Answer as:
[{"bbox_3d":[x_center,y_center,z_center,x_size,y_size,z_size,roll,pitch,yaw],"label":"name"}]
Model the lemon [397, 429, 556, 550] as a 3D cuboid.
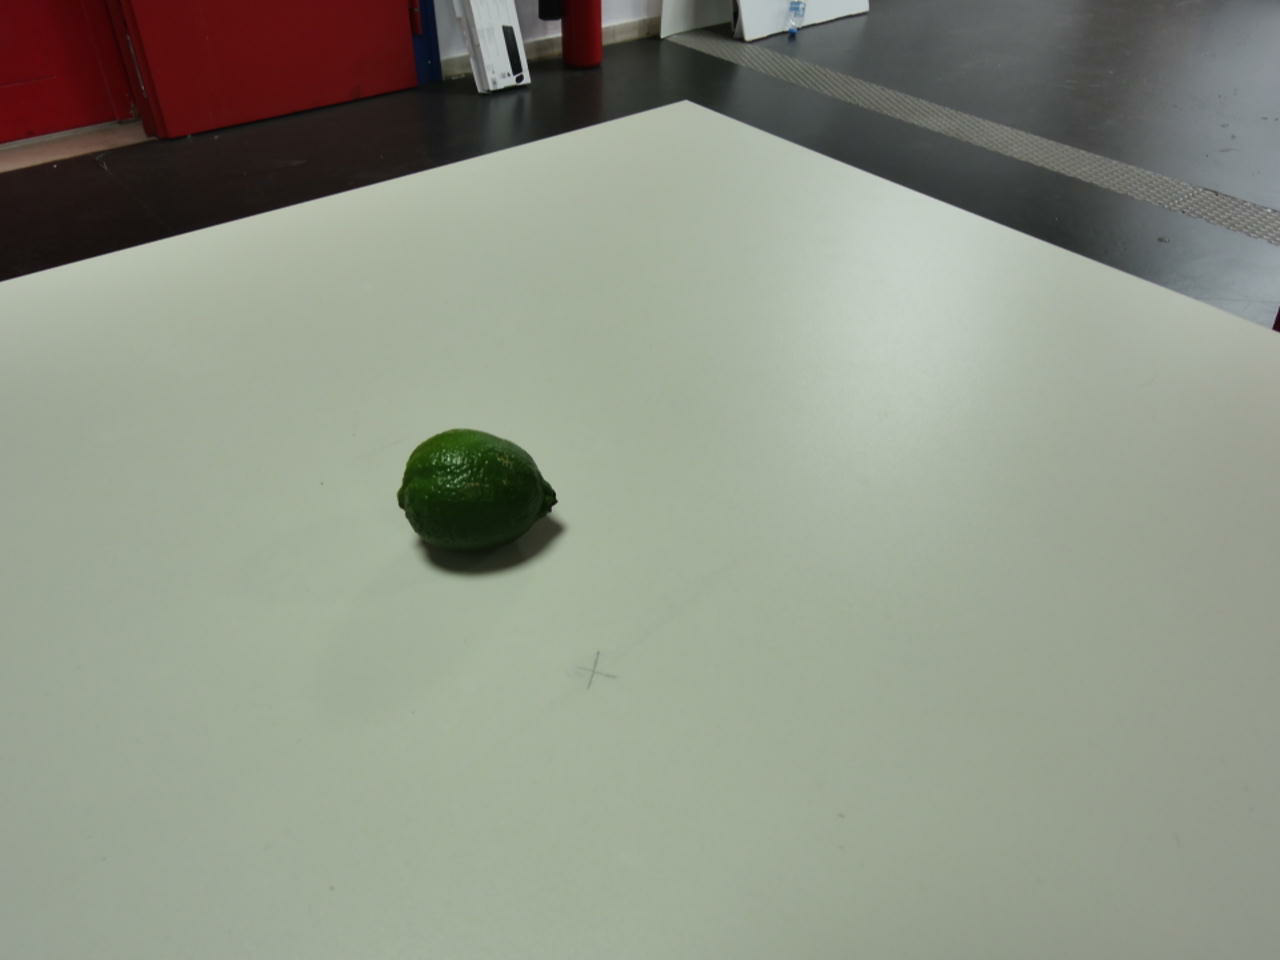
[{"bbox_3d":[-0.070,0.003,0.411,0.057,0.051,0.054,-29,46,-34],"label":"lemon"}]
